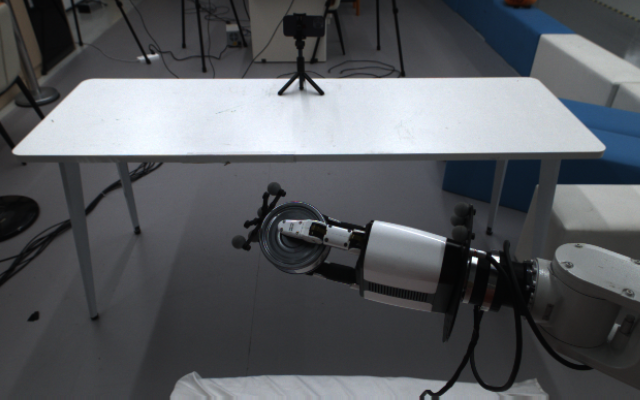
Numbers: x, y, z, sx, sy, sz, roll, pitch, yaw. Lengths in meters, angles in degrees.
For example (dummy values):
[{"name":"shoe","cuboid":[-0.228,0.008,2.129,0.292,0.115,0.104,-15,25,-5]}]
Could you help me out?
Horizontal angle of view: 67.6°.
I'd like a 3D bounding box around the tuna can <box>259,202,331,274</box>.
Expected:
[{"name":"tuna can","cuboid":[-0.025,0.049,0.587,0.085,0.034,0.085,-1,73,4]}]
